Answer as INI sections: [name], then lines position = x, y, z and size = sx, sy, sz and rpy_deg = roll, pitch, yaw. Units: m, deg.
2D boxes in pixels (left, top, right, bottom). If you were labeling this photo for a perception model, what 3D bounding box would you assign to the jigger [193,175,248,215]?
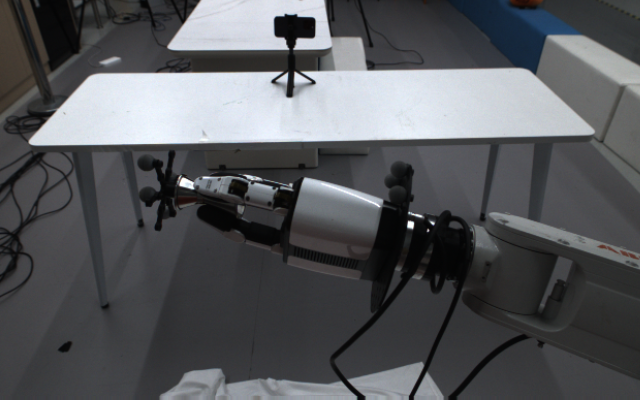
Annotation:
[jigger]
position = -0.112, -0.009, 0.525
size = 0.071, 0.043, 0.043
rpy_deg = 6, 35, 2
